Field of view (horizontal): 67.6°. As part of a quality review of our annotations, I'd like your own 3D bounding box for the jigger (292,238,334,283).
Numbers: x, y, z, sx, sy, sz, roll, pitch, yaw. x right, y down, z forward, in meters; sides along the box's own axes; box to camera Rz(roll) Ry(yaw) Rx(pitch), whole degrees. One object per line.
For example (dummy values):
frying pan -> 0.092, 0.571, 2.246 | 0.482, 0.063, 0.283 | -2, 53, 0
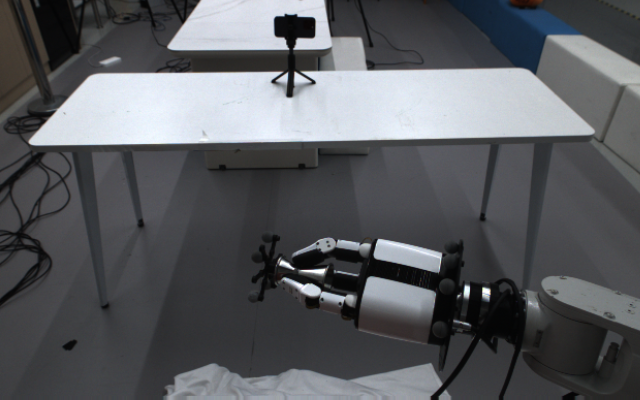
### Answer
jigger -> -0.014, 0.094, 0.626 | 0.071, 0.043, 0.043 | 8, 35, 17
